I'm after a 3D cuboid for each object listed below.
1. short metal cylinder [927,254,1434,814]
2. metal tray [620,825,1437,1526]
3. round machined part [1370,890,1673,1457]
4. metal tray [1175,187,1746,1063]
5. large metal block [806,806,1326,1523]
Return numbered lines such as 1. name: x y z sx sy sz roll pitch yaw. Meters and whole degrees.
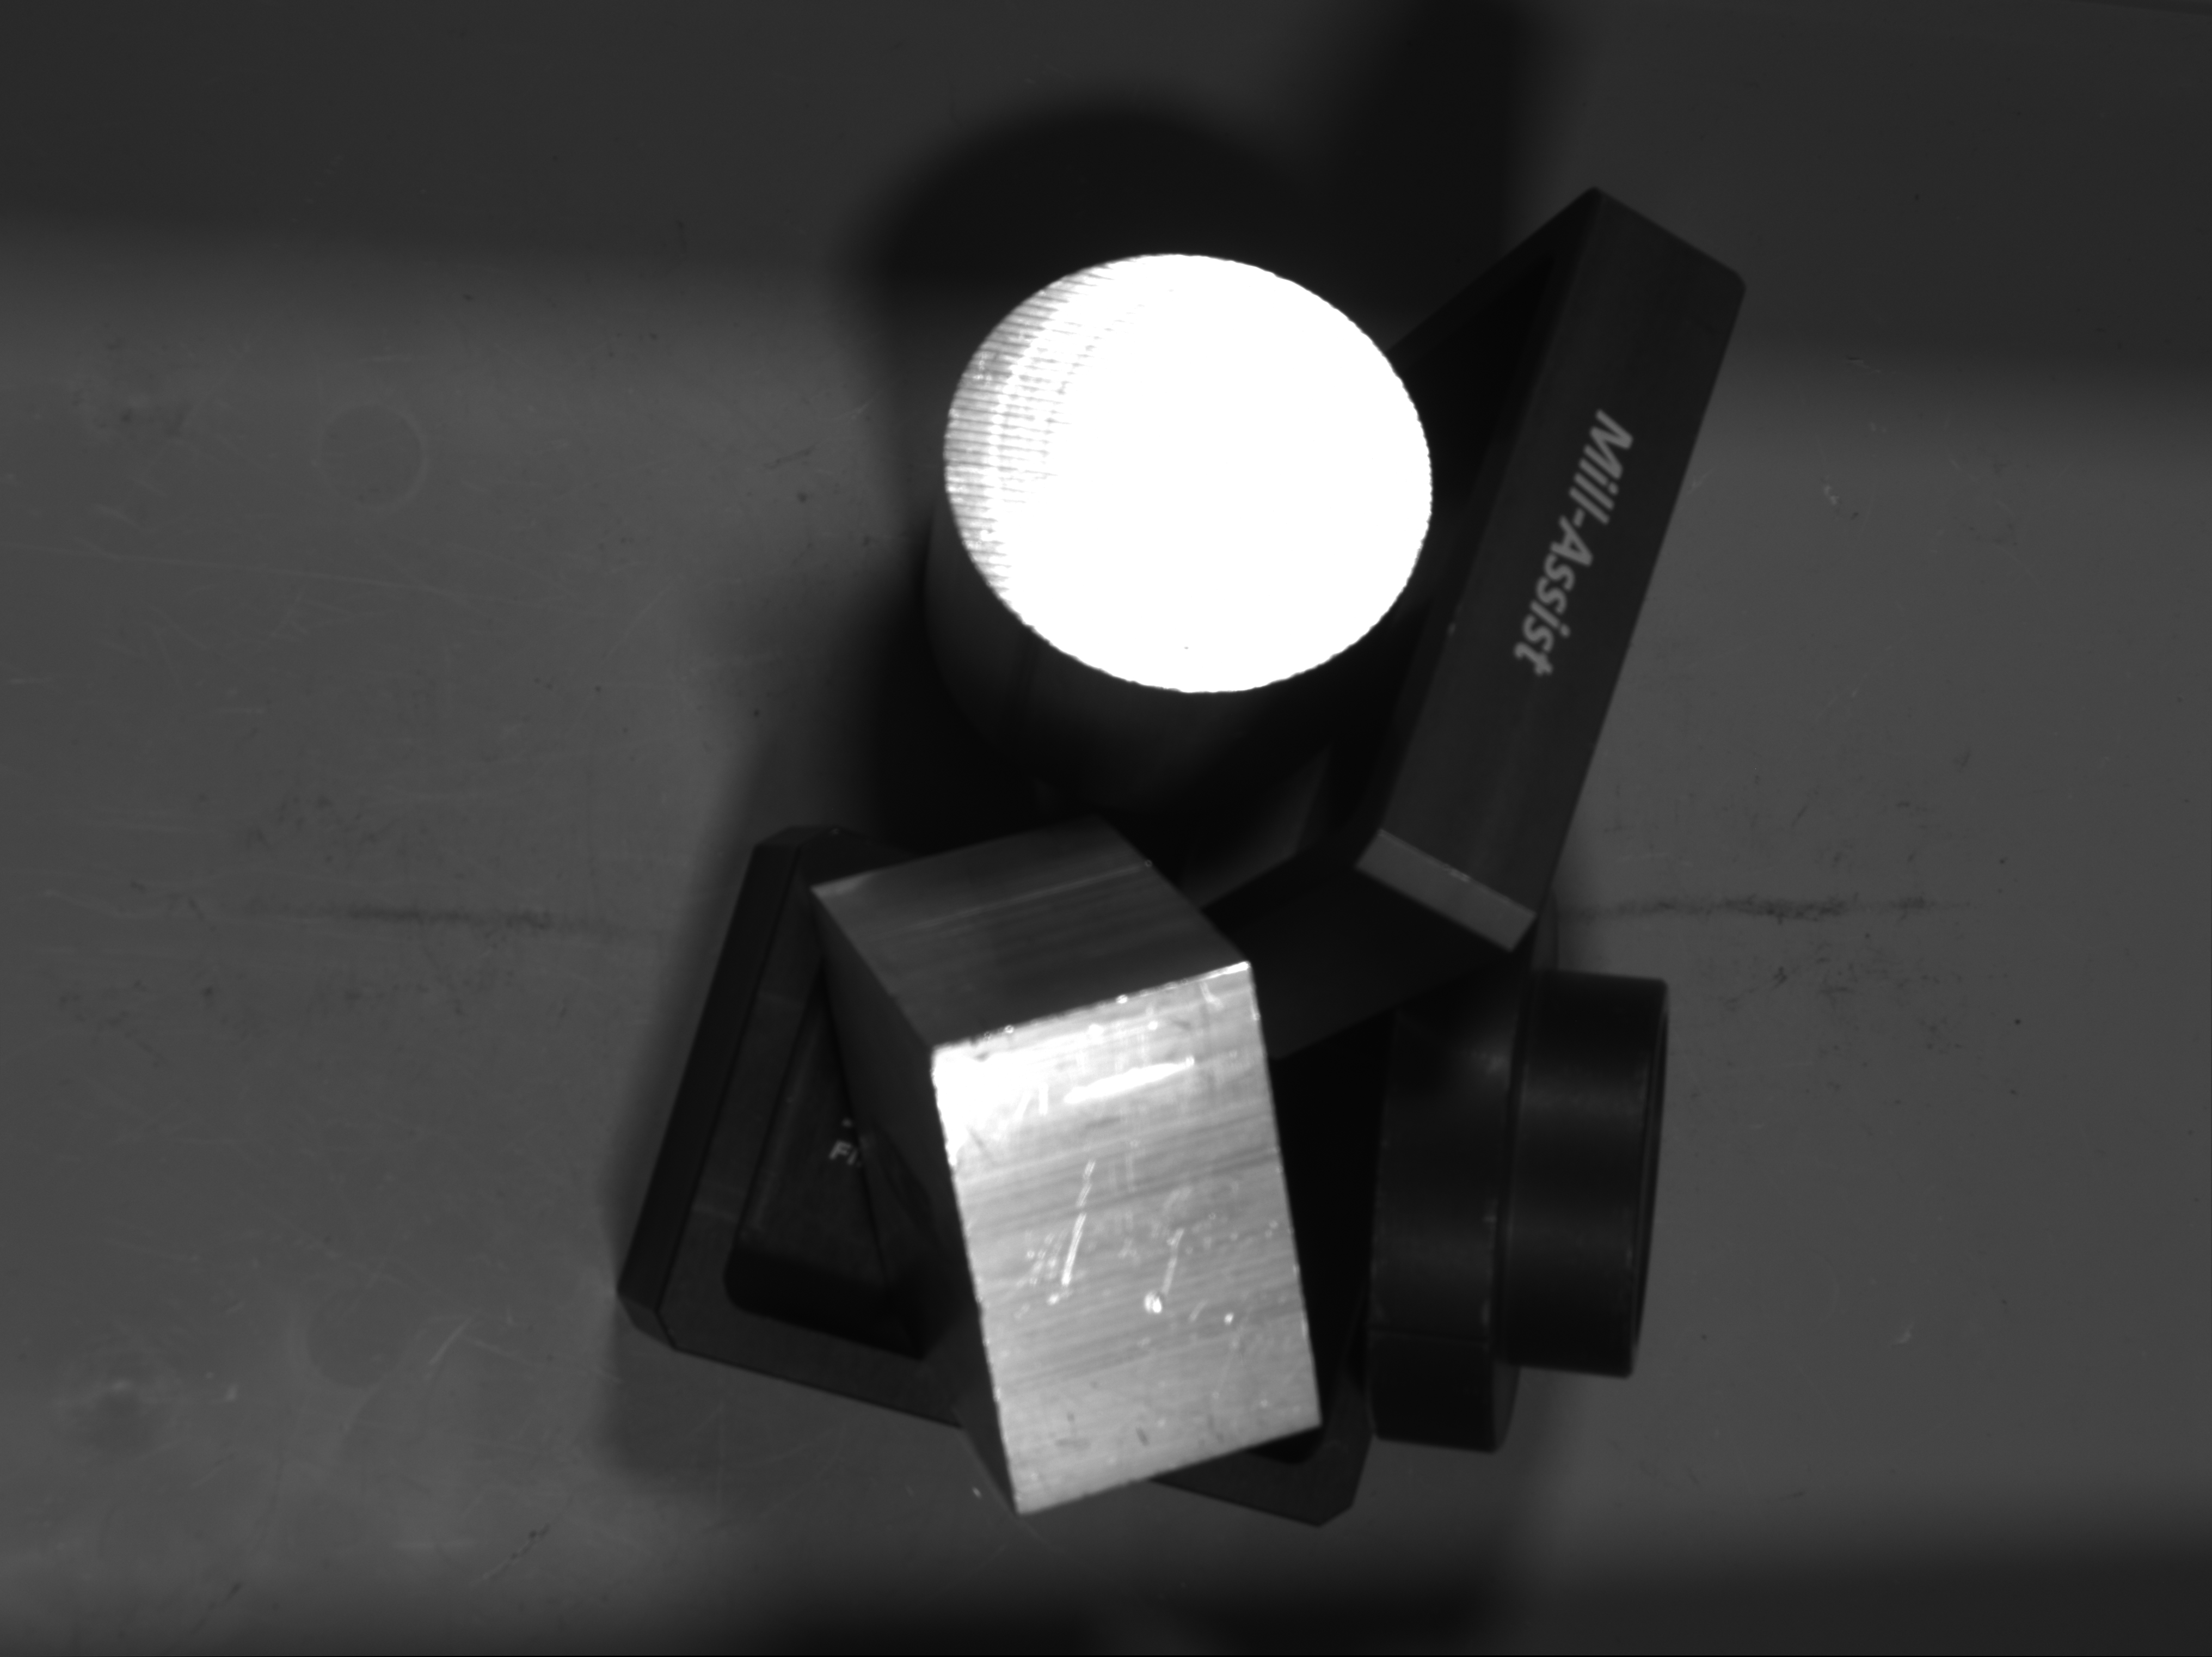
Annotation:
1. short metal cylinder: 0.011 -0.049 0.617 0.080 0.050 0.080 3 67 -6
2. metal tray: -0.009 0.060 0.635 0.130 0.030 0.090 19 84 -19
3. round machined part: 0.073 0.058 0.626 0.042 0.098 0.098 5 88 11
4. metal tray: 0.055 -0.032 0.611 0.030 0.090 0.130 27 65 -15
5. large metal block: -0.008 0.051 0.586 0.050 0.080 0.080 -15 111 -13
